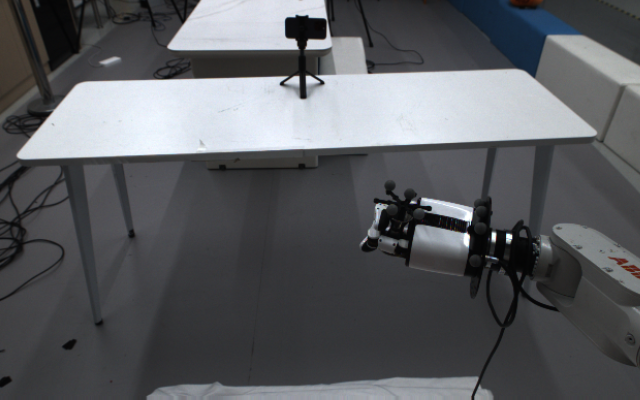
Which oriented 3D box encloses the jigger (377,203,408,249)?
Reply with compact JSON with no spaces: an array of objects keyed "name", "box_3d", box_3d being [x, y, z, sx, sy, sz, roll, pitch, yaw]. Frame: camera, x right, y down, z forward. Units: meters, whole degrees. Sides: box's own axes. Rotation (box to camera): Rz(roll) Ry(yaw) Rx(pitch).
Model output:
[{"name":"jigger","box_3d":[0.121,0.049,0.768,0.043,0.071,0.043,7,32,-4]}]
